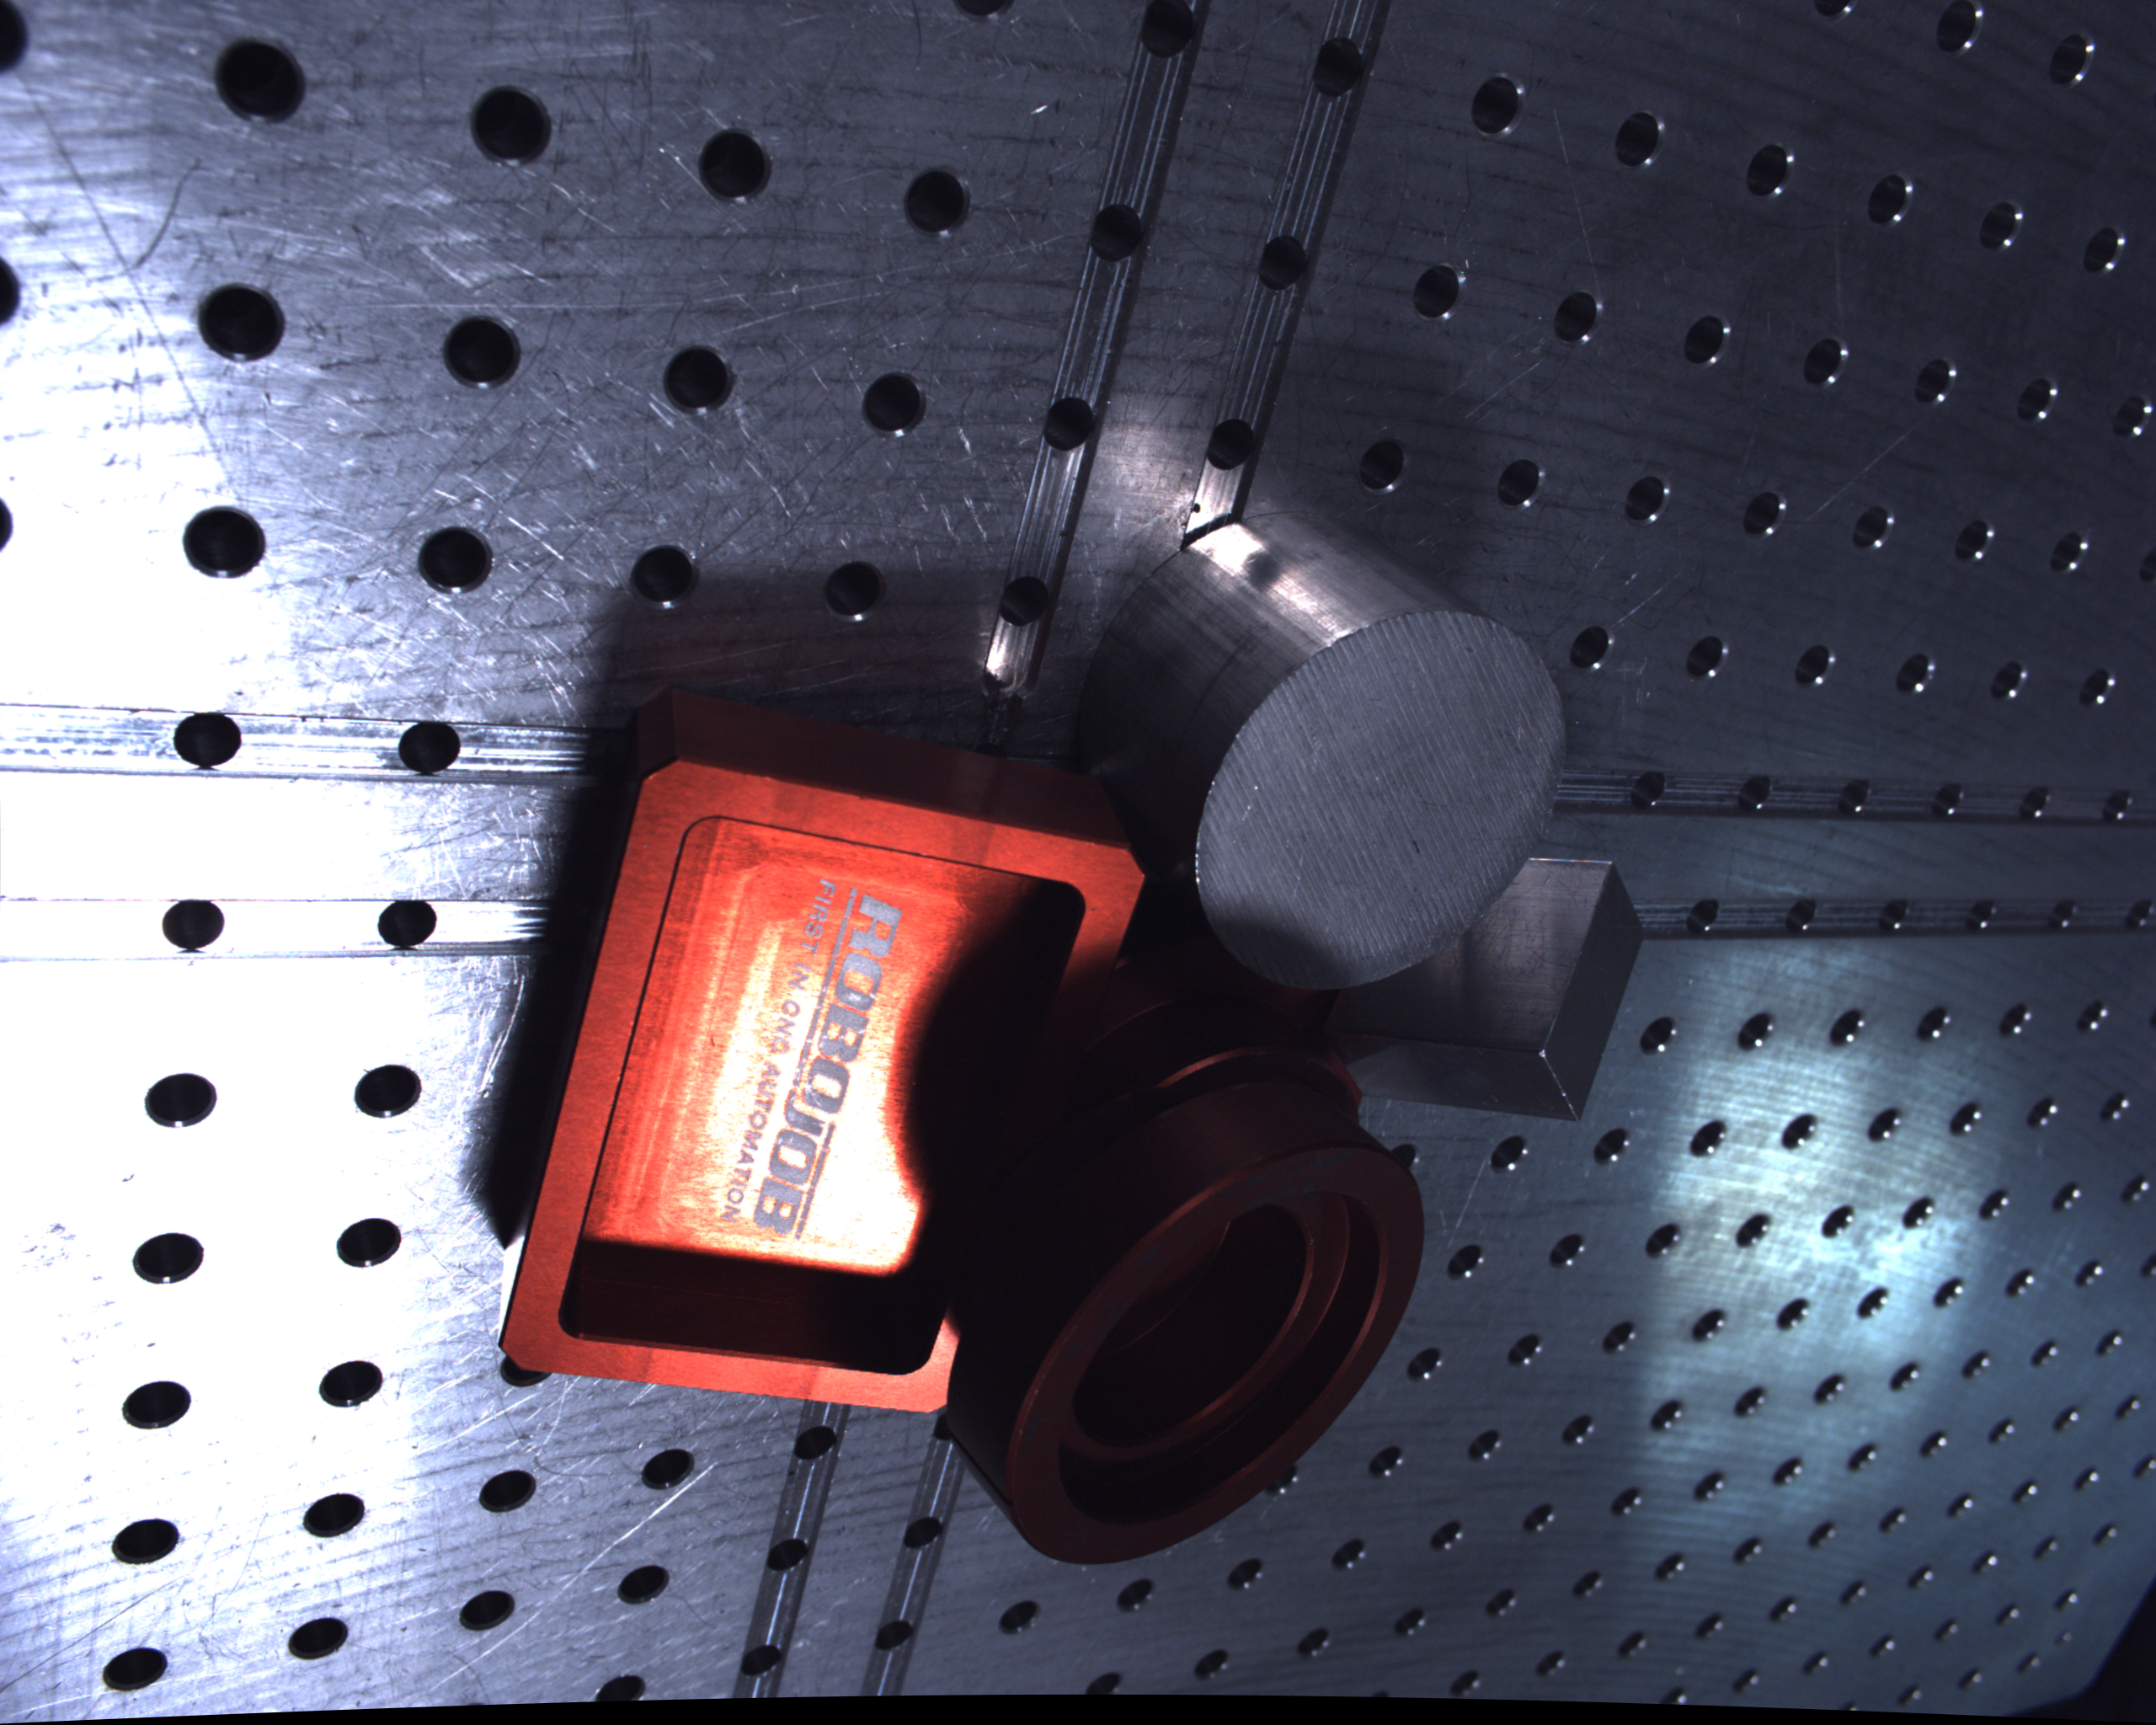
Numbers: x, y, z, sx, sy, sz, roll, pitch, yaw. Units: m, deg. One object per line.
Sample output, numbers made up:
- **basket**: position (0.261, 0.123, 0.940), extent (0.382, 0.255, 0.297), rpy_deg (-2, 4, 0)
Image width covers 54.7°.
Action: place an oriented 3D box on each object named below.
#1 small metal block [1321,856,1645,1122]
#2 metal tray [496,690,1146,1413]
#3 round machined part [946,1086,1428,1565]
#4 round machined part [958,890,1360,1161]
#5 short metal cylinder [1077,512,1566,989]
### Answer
- **small metal block**: position (0.087, 0.025, 0.448), extent (0.025, 0.050, 0.050), rpy_deg (56, 50, -39)
- **metal tray**: position (-0.051, 0.040, 0.392), extent (0.091, 0.030, 0.129), rpy_deg (11, 113, -18)
- **round machined part**: position (0.016, 0.083, 0.400), extent (0.099, 0.042, 0.097), rpy_deg (-23, 133, -27)
- **round machined part**: position (0.021, 0.058, 0.447), extent (0.099, 0.042, 0.097), rpy_deg (-14, 125, -21)
- **short metal cylinder**: position (0.047, -0.022, 0.408), extent (0.081, 0.050, 0.079), rpy_deg (-14, 125, -21)
